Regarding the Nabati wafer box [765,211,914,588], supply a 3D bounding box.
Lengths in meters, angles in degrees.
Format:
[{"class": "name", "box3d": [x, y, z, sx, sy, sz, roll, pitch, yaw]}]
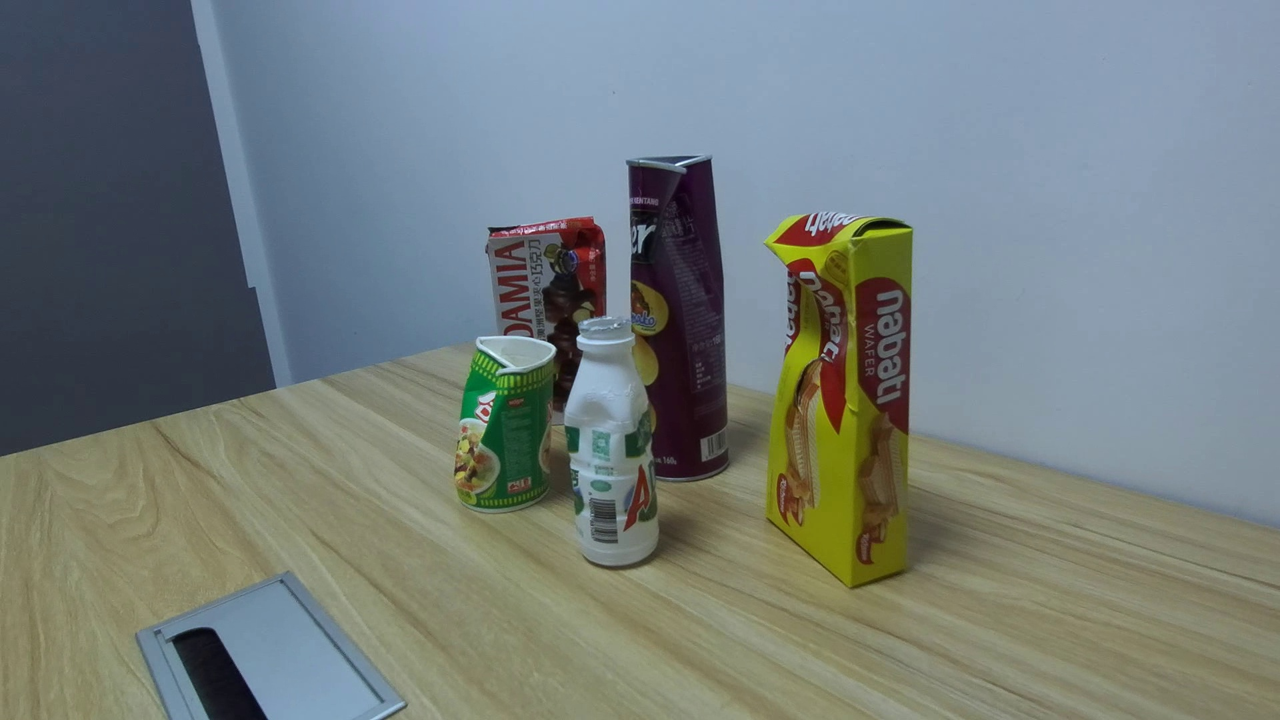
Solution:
[{"class": "Nabati wafer box", "box3d": [0.110, 0.017, 0.414, 0.042, 0.204, 0.106, -10, 18, -19]}]

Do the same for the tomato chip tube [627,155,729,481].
[{"class": "tomato chip tube", "box3d": [0.030, -0.031, 0.531, 0.078, 0.235, 0.076, -6, 17, -11]}]

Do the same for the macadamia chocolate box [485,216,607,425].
[{"class": "macadamia chocolate box", "box3d": [-0.076, -0.033, 0.632, 0.103, 0.187, 0.027, -3, 25, 2]}]

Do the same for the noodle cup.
[{"class": "noodle cup", "box3d": [-0.101, 0.046, 0.515, 0.075, 0.122, 0.083, 8, 10, 6]}]

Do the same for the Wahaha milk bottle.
[{"class": "Wahaha milk bottle", "box3d": [-0.018, 0.049, 0.428, 0.055, 0.149, 0.055, -4, 17, 1]}]
